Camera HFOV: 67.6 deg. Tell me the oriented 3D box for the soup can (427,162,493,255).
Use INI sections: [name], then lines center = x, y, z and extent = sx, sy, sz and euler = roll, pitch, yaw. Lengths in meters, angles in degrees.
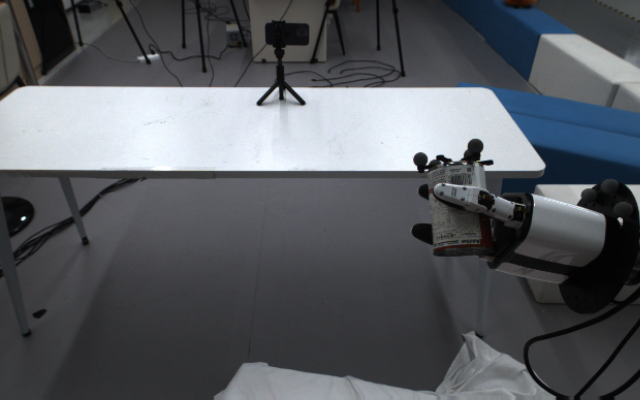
[soup can]
center = 0.163, 0.009, 0.567
extent = 0.067, 0.067, 0.101
euler = 0, 75, -3
